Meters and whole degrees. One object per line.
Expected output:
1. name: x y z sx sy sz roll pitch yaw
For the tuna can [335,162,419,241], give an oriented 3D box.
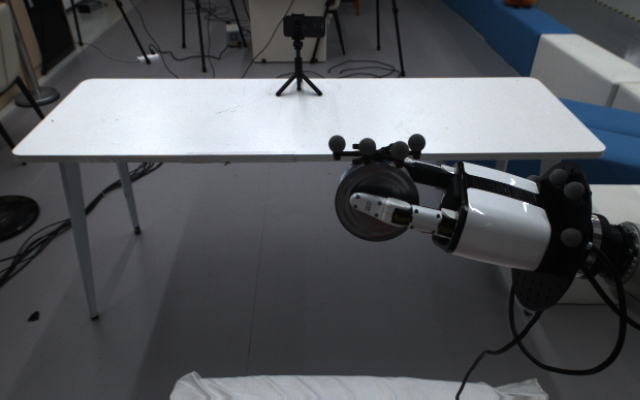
1. tuna can: 0.061 -0.003 0.509 0.085 0.085 0.034 4 18 3
